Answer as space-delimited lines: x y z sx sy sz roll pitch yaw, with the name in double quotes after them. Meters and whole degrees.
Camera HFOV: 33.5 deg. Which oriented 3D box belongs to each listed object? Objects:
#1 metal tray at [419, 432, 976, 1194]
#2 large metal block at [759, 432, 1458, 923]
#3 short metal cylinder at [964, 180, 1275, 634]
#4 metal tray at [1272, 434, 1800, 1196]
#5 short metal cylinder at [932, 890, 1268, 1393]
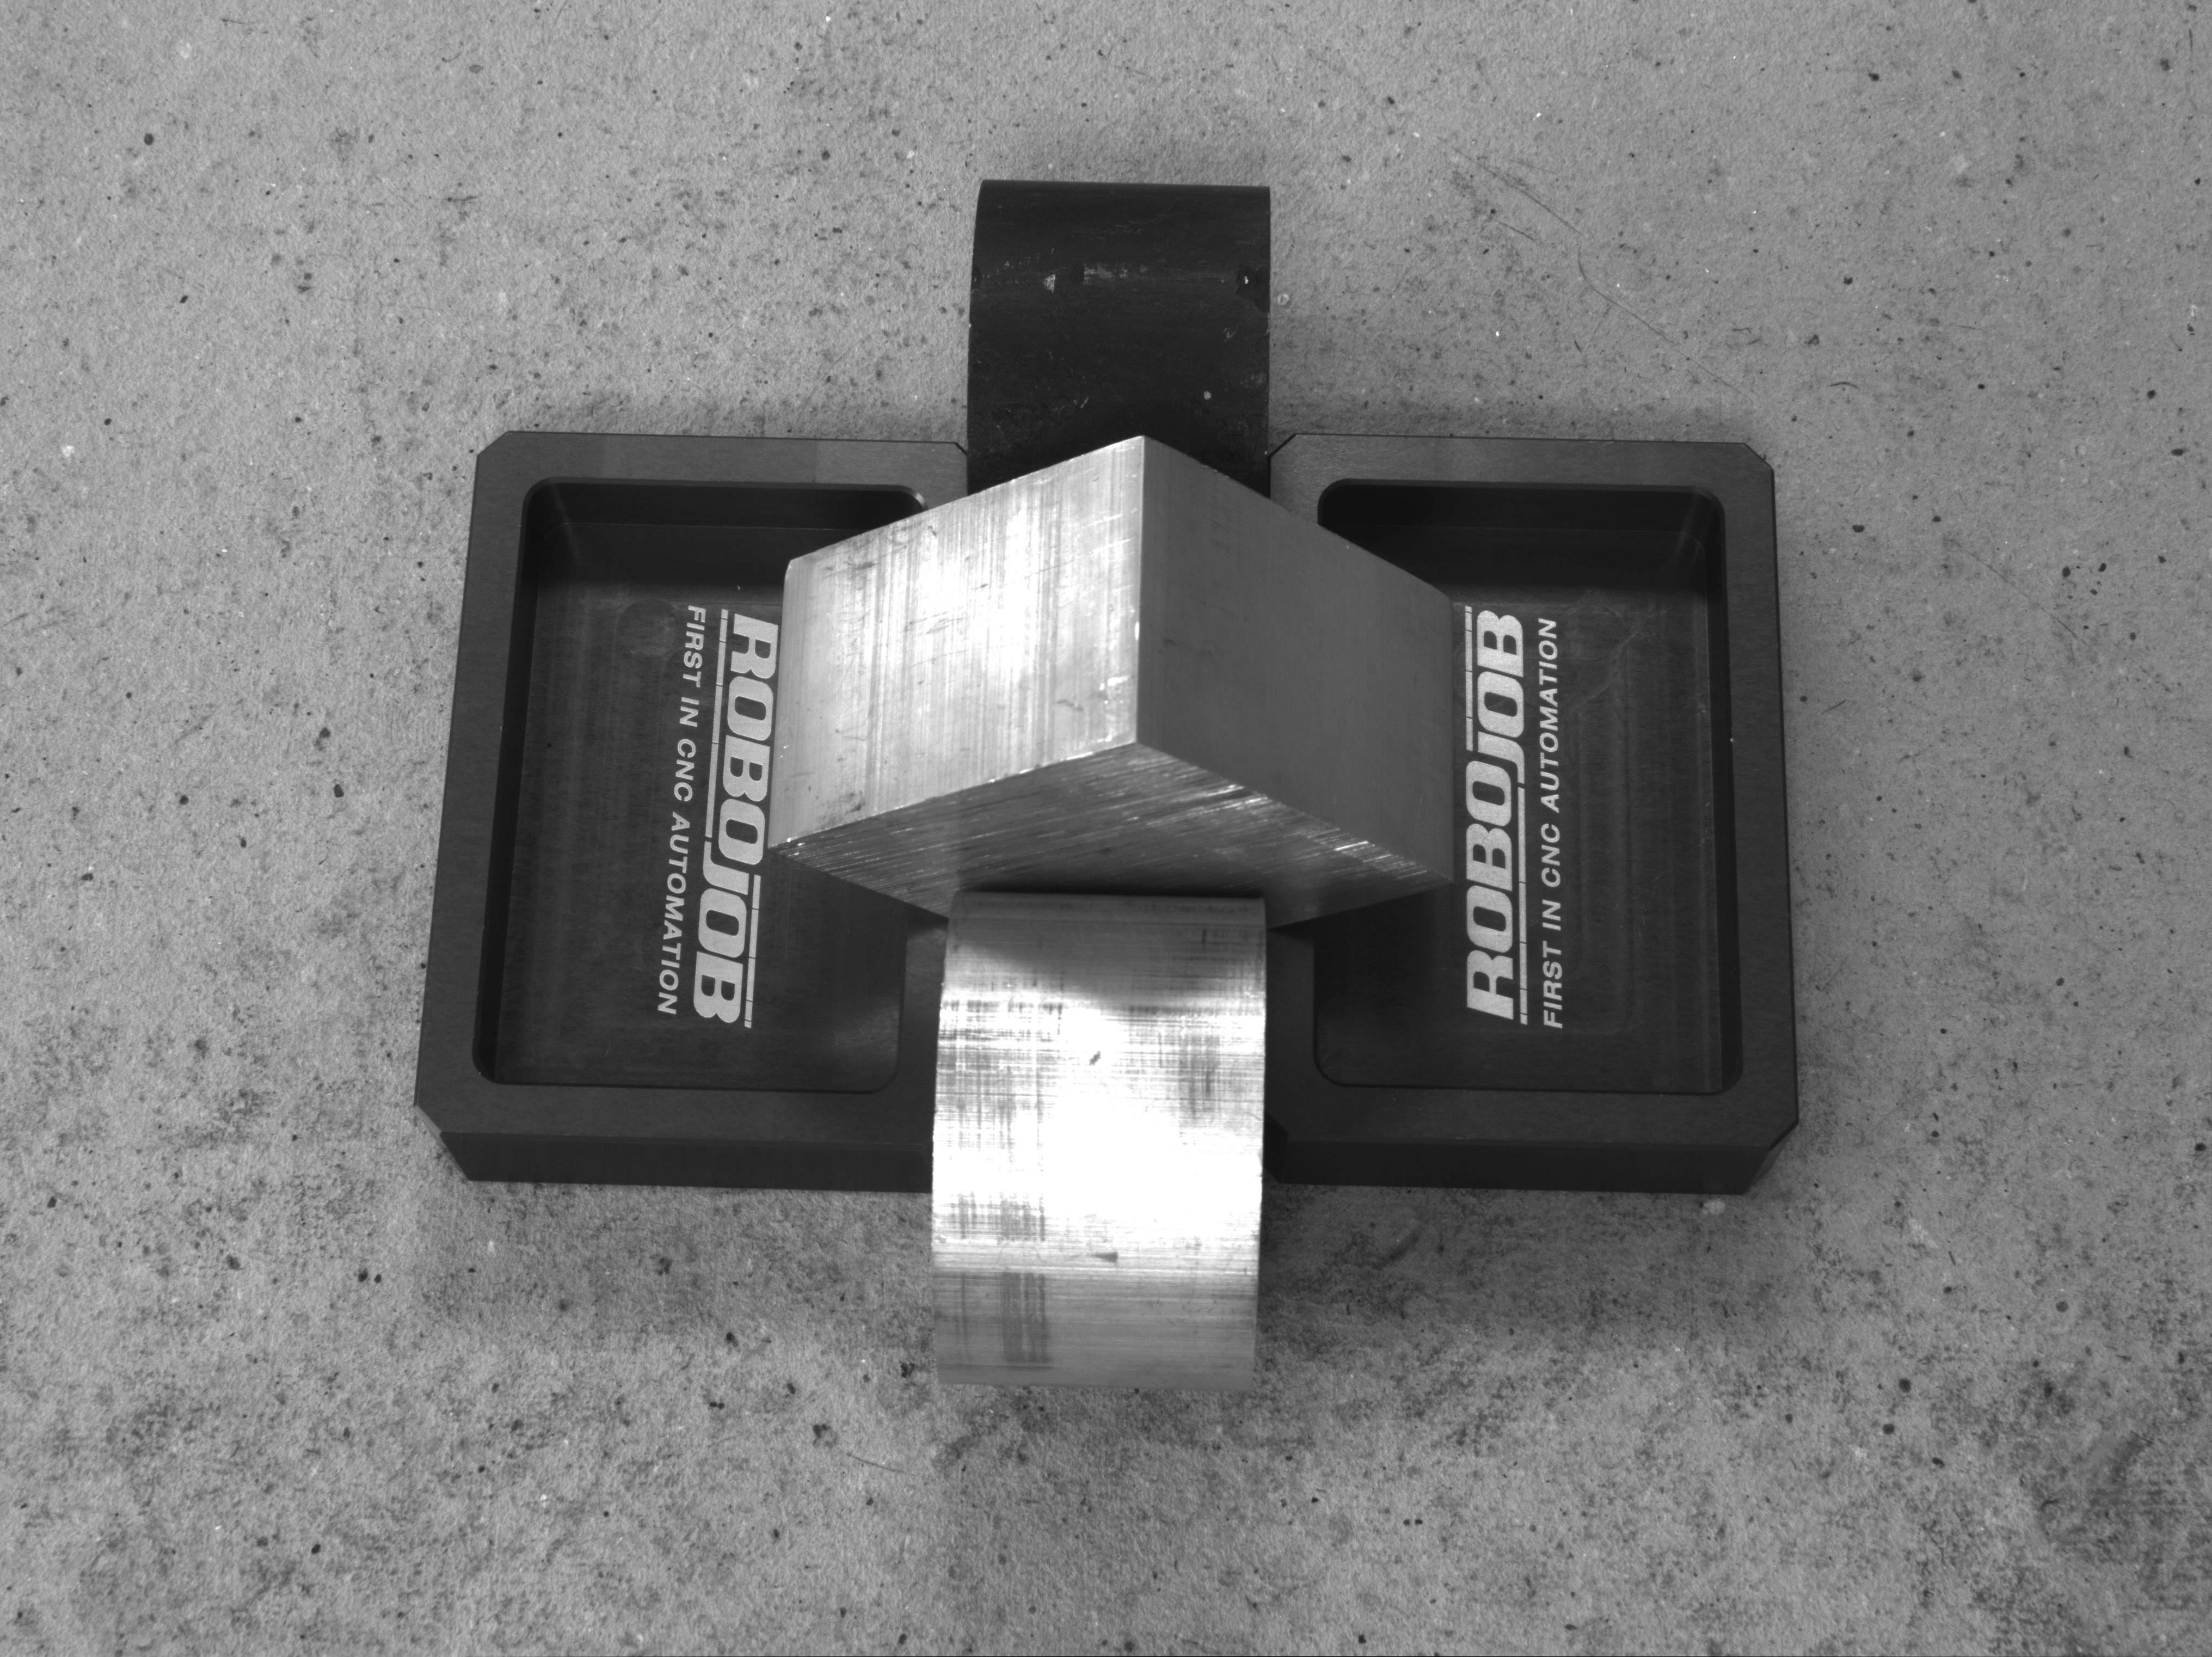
-0.067 -0.004 0.645 0.090 0.030 0.130 2 70 1 "metal tray"
0.002 -0.018 0.601 0.080 0.080 0.050 -15 65 38 "large metal block"
0.003 -0.072 0.643 0.050 0.080 0.080 2 70 1 "short metal cylinder"
0.072 -0.003 0.645 0.090 0.030 0.130 2 70 1 "metal tray"
0.000 0.051 0.598 0.050 0.080 0.080 2 70 1 "short metal cylinder"
